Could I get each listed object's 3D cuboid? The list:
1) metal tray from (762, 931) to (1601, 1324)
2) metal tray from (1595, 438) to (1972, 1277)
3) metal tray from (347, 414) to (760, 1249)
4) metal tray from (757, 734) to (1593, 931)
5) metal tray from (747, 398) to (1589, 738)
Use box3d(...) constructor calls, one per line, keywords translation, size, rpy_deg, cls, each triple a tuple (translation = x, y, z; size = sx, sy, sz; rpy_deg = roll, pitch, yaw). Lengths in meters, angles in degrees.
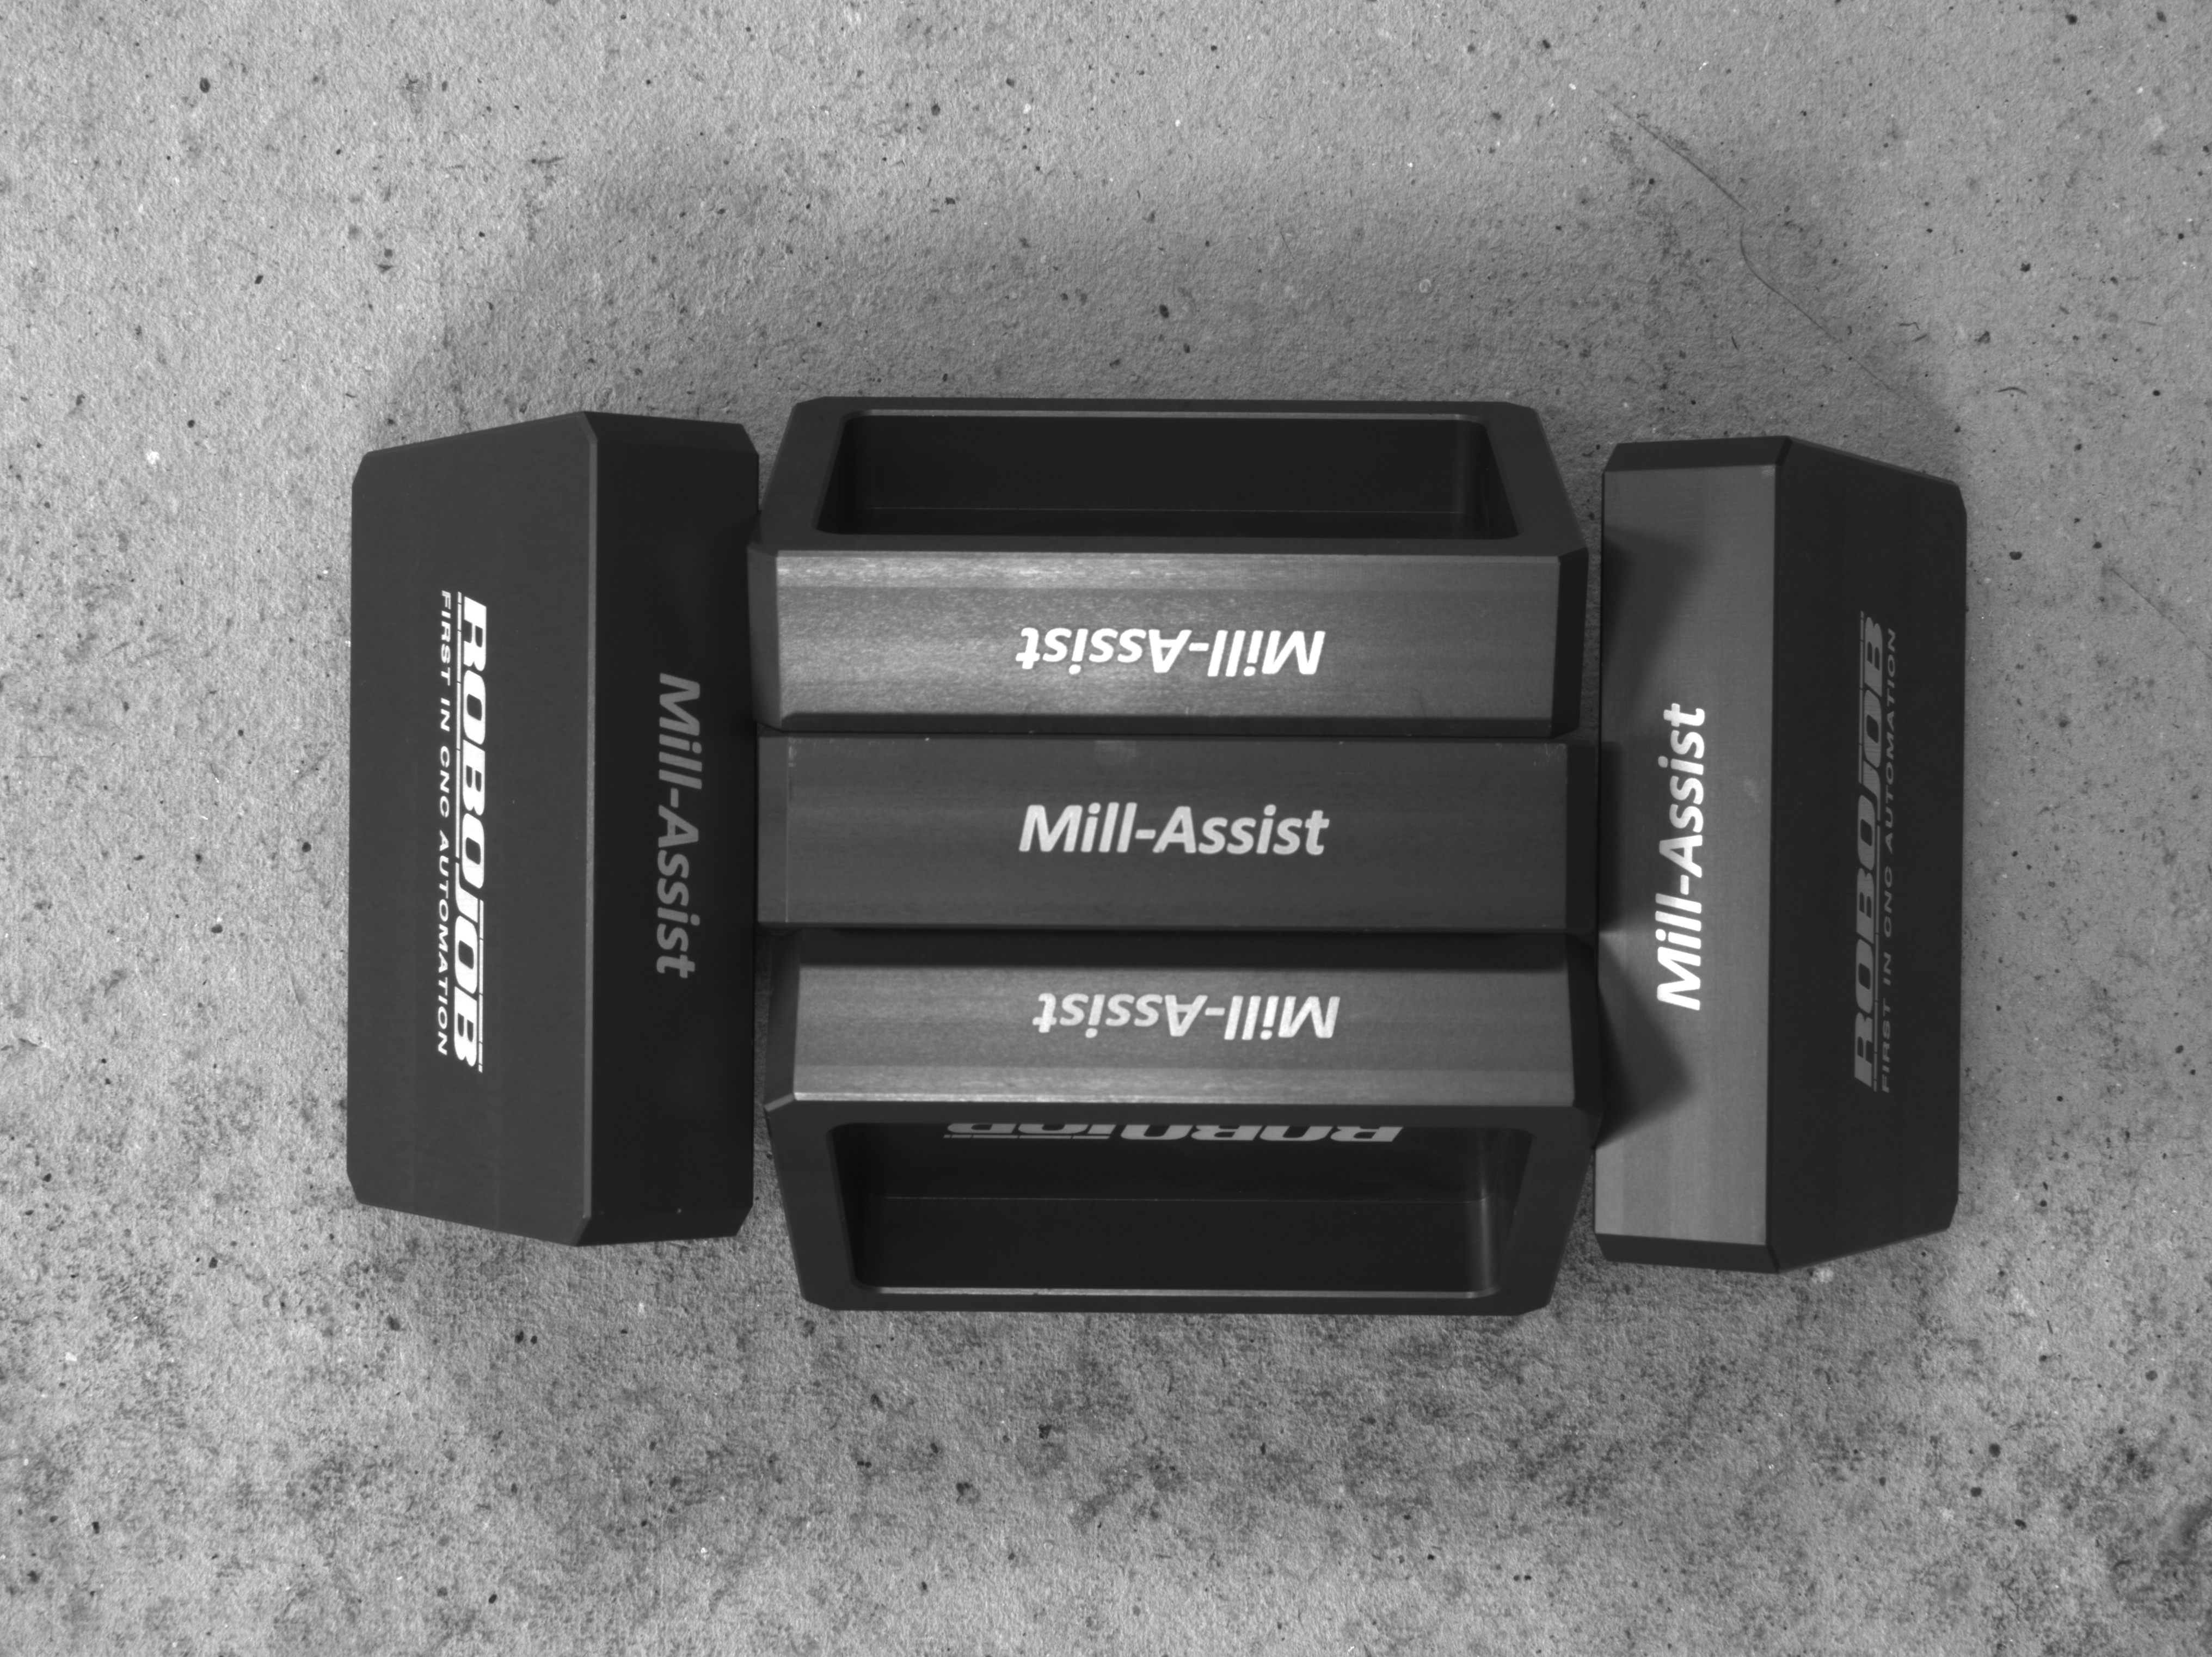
box3d(translation=(0.012, 0.051, 0.612), size=(0.130, 0.090, 0.030), rpy_deg=(1, 61, 0), cls="metal tray")
box3d(translation=(0.114, 0.005, 0.612), size=(0.030, 0.090, 0.130), rpy_deg=(1, 90, 32), cls="metal tray")
box3d(translation=(-0.094, 0.001, 0.614), size=(0.030, 0.090, 0.130), rpy_deg=(0, 90, -36), cls="metal tray")
box3d(translation=(0.011, 0.001, 0.613), size=(0.130, 0.090, 0.030), rpy_deg=(0, 90, 0), cls="metal tray")
box3d(translation=(0.010, -0.045, 0.611), size=(0.130, 0.090, 0.030), rpy_deg=(0, 112, 0), cls="metal tray")
